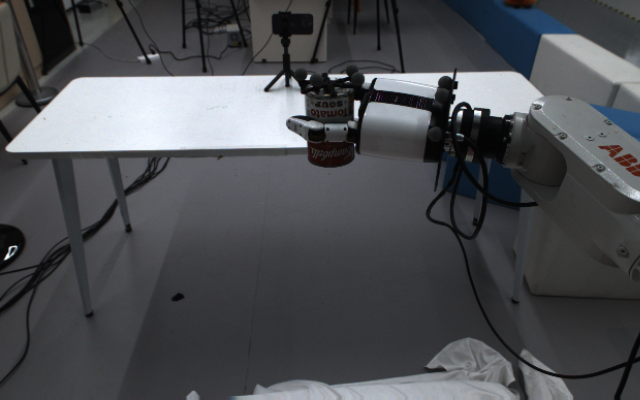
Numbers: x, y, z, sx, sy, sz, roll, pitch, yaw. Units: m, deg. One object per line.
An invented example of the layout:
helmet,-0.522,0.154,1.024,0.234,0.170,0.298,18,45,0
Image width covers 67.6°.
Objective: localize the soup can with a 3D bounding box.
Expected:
soup can,0.015,-0.105,0.662,0.067,0.101,0.067,-2,33,1
